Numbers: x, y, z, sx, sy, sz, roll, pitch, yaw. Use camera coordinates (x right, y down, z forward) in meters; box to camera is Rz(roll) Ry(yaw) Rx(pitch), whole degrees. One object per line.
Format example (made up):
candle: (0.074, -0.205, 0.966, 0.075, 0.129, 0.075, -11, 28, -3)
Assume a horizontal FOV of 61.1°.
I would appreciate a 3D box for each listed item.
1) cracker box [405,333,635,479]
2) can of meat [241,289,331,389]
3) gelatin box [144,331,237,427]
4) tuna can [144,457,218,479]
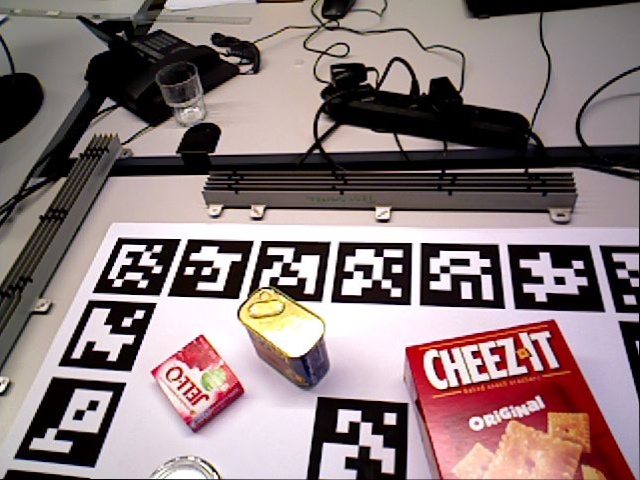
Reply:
cracker box: (0.188, 0.204, 0.522, 0.163, 0.073, 0.210, -10, 46, -2)
can of meat: (-0.036, 0.117, 0.632, 0.102, 0.085, 0.056, 26, 56, 30)
gelatin box: (-0.151, 0.161, 0.638, 0.072, 0.031, 0.089, -34, 54, -24)
tuna can: (-0.137, 0.264, 0.537, 0.086, 0.034, 0.084, -6, 51, 6)
